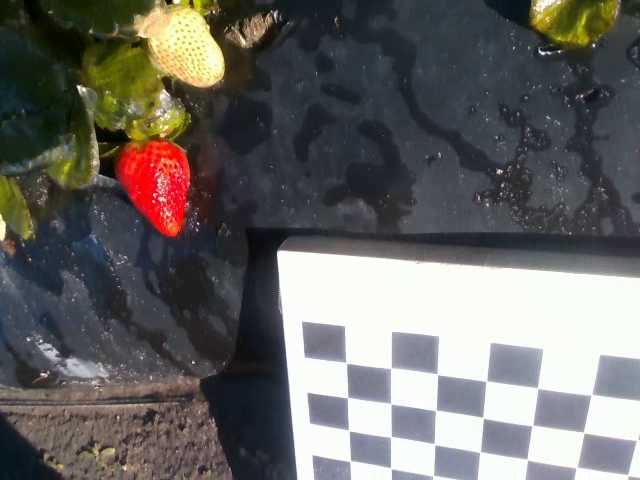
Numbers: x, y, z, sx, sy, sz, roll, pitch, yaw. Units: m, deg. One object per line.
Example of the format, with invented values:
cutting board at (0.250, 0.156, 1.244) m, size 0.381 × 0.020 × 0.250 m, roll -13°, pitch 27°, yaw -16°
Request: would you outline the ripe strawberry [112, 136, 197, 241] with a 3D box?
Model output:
ripe strawberry at (-0.087, -0.022, 0.289) m, size 0.041 × 0.052 × 0.040 m, roll -13°, pitch 14°, yaw 20°
